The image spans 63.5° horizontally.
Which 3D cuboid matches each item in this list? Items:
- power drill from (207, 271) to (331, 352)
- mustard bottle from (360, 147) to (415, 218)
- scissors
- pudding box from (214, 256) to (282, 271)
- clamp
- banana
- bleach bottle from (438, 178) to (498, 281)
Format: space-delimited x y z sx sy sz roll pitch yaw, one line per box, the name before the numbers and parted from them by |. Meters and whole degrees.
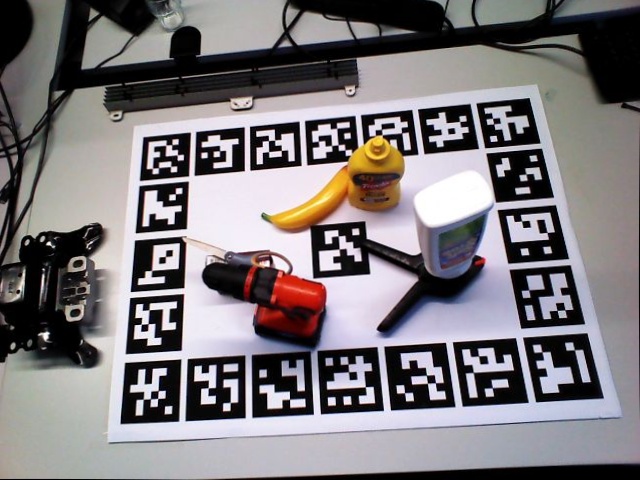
power drill | -0.059 0.106 0.770 0.185 0.187 0.057 7 62 11
mustard bottle | 0.117 -0.100 0.868 0.096 0.192 0.058 9 69 8
scissors | -0.129 0.031 0.820 0.203 0.016 0.087 21 76 8
pudding box | -0.115 0.061 0.876 0.114 0.090 0.038 0 61 5
clamp | 0.202 0.059 0.858 0.203 0.037 0.164 -10 70 0
banana | 0.014 -0.081 0.941 0.197 0.039 0.074 -41 53 -10
bleach bottle | 0.227 0.003 0.764 0.103 0.251 0.067 -24 64 3
